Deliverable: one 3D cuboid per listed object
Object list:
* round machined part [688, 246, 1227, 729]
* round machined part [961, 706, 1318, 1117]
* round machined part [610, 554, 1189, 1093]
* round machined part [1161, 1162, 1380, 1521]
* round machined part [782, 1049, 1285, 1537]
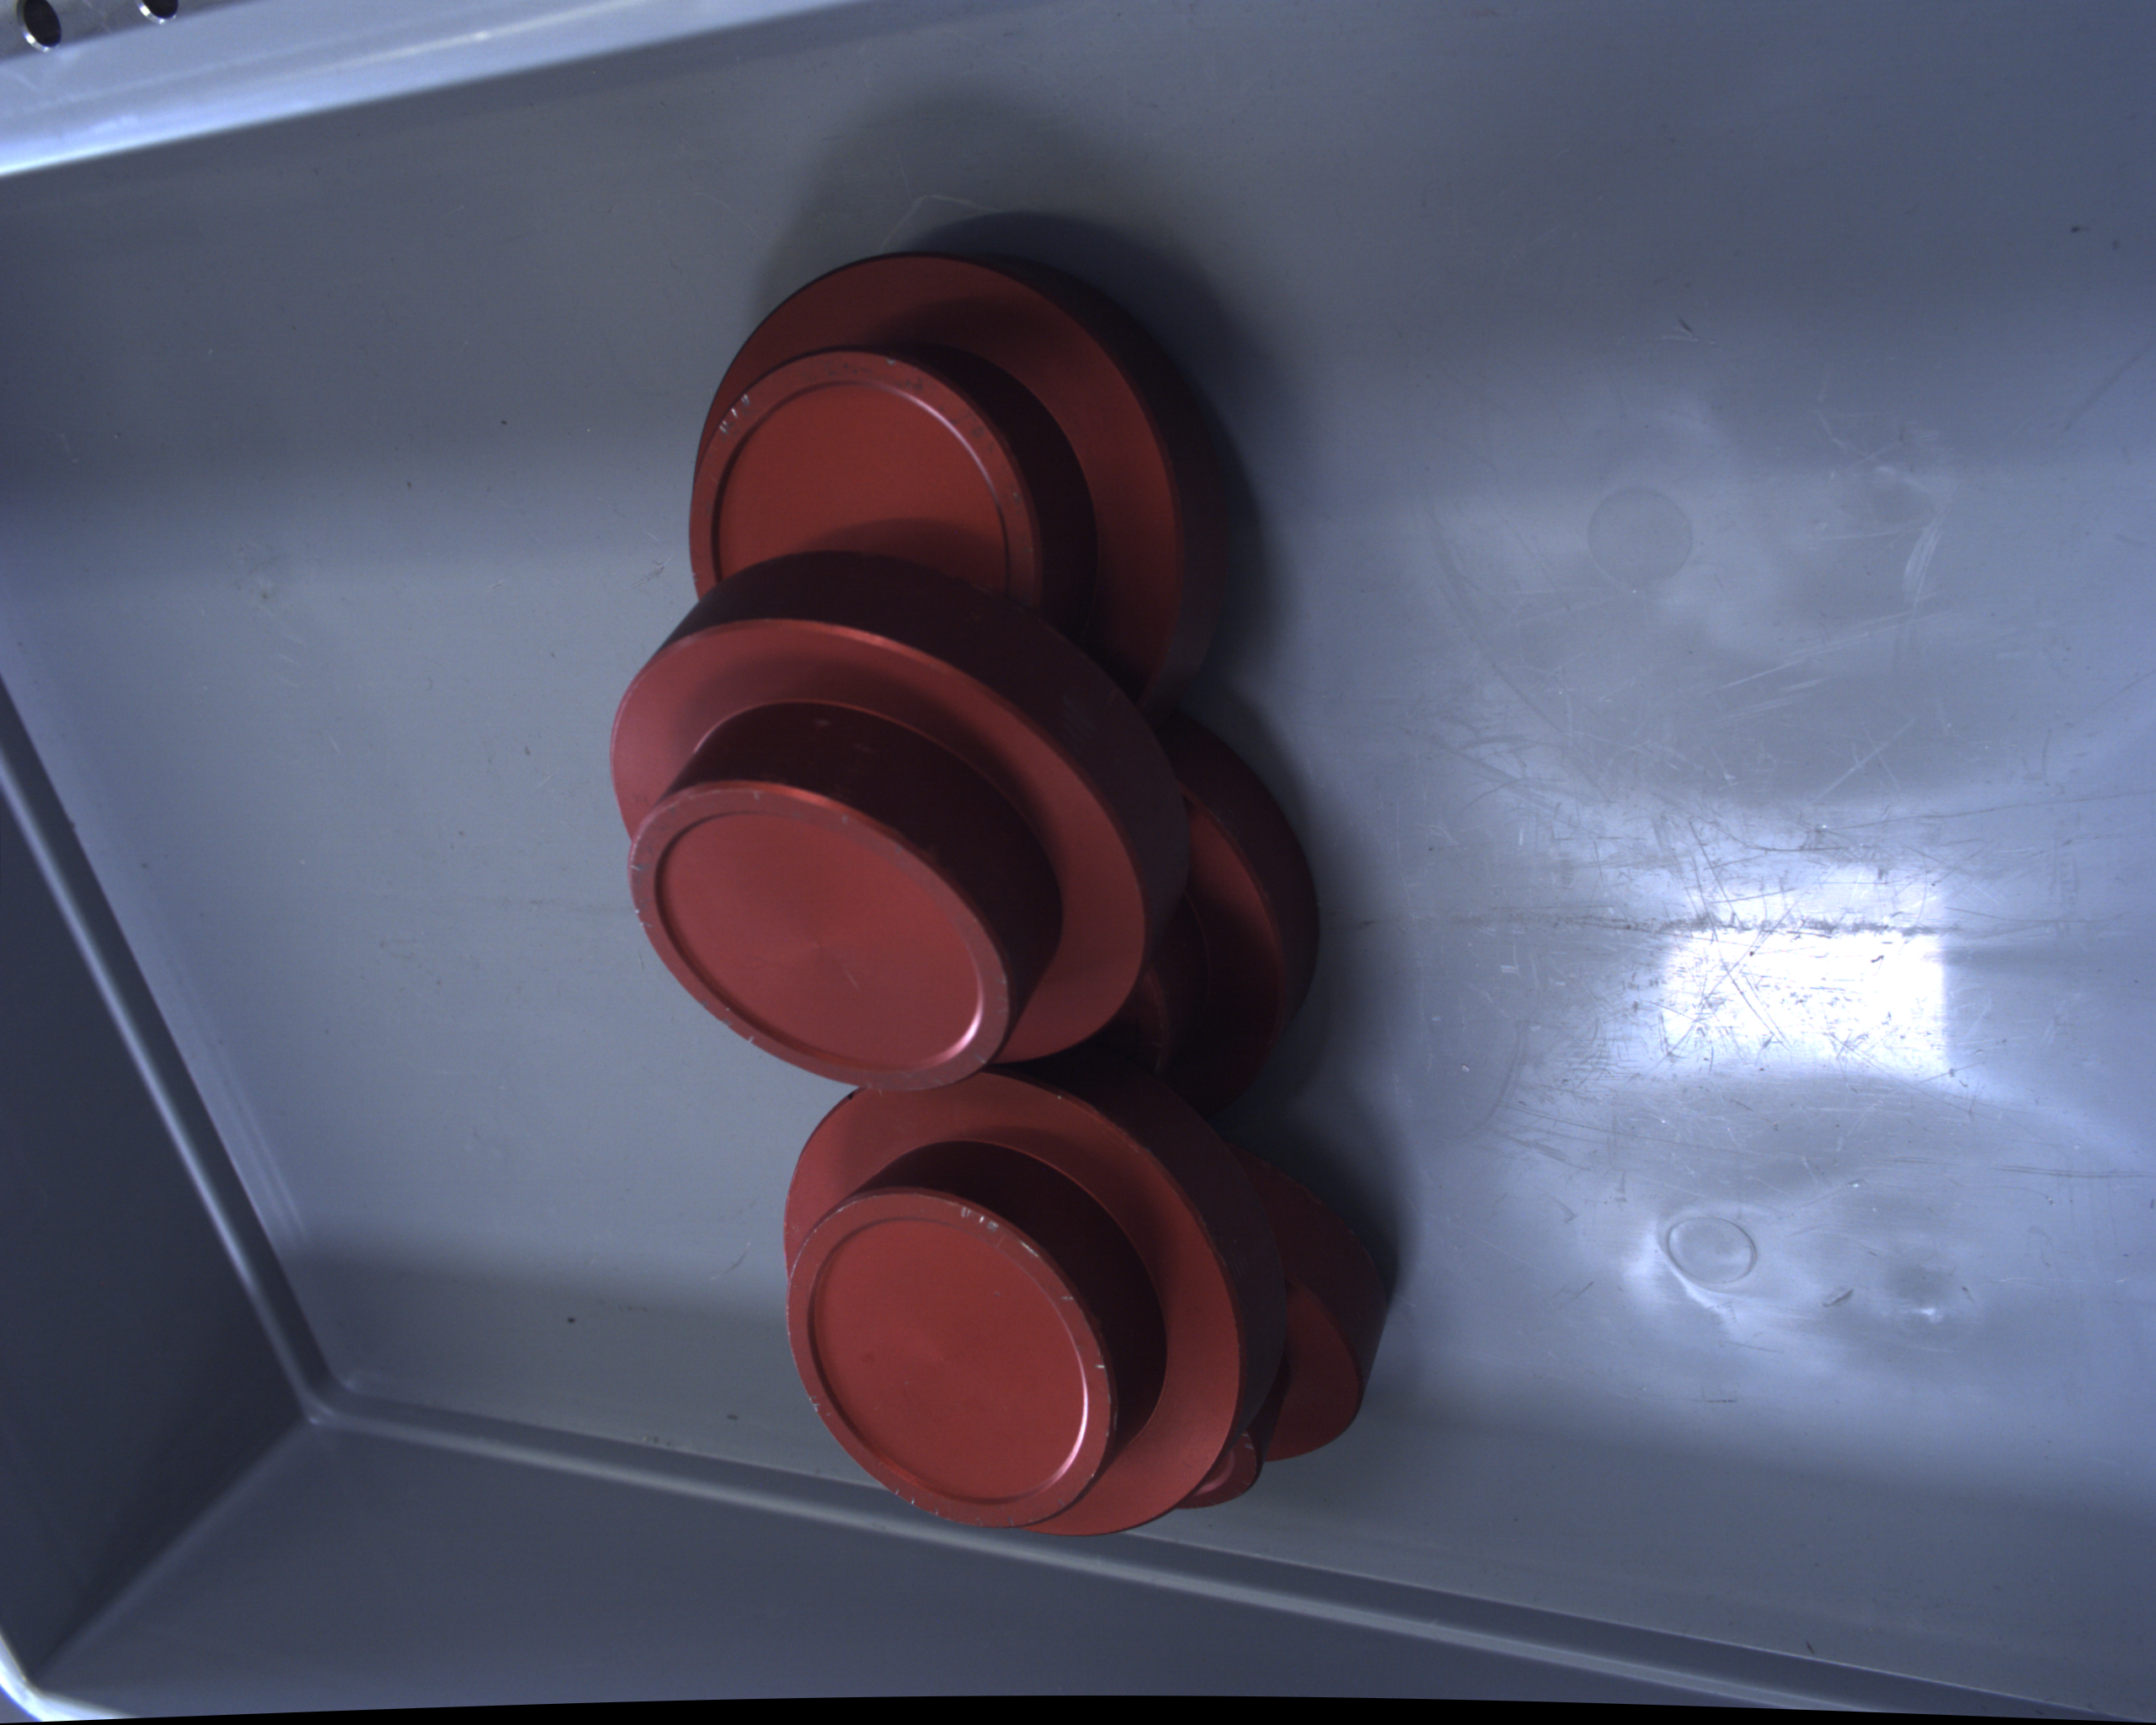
[{"bbox_3d":[-0.027,-0.056,0.362,0.098,0.042,0.097,7,106,26],"label":"round machined part"},{"bbox_3d":[-0.006,0.014,0.408,0.098,0.042,0.097,13,123,21],"label":"round machined part"},{"bbox_3d":[-0.035,0.001,0.348,0.098,0.042,0.097,15,137,15],"label":"round machined part"},{"bbox_3d":[0.010,0.101,0.435,0.098,0.042,0.097,15,139,14],"label":"round machined part"},{"bbox_3d":[-0.015,0.084,0.389,0.098,0.042,0.097,9,111,25],"label":"round machined part"}]
